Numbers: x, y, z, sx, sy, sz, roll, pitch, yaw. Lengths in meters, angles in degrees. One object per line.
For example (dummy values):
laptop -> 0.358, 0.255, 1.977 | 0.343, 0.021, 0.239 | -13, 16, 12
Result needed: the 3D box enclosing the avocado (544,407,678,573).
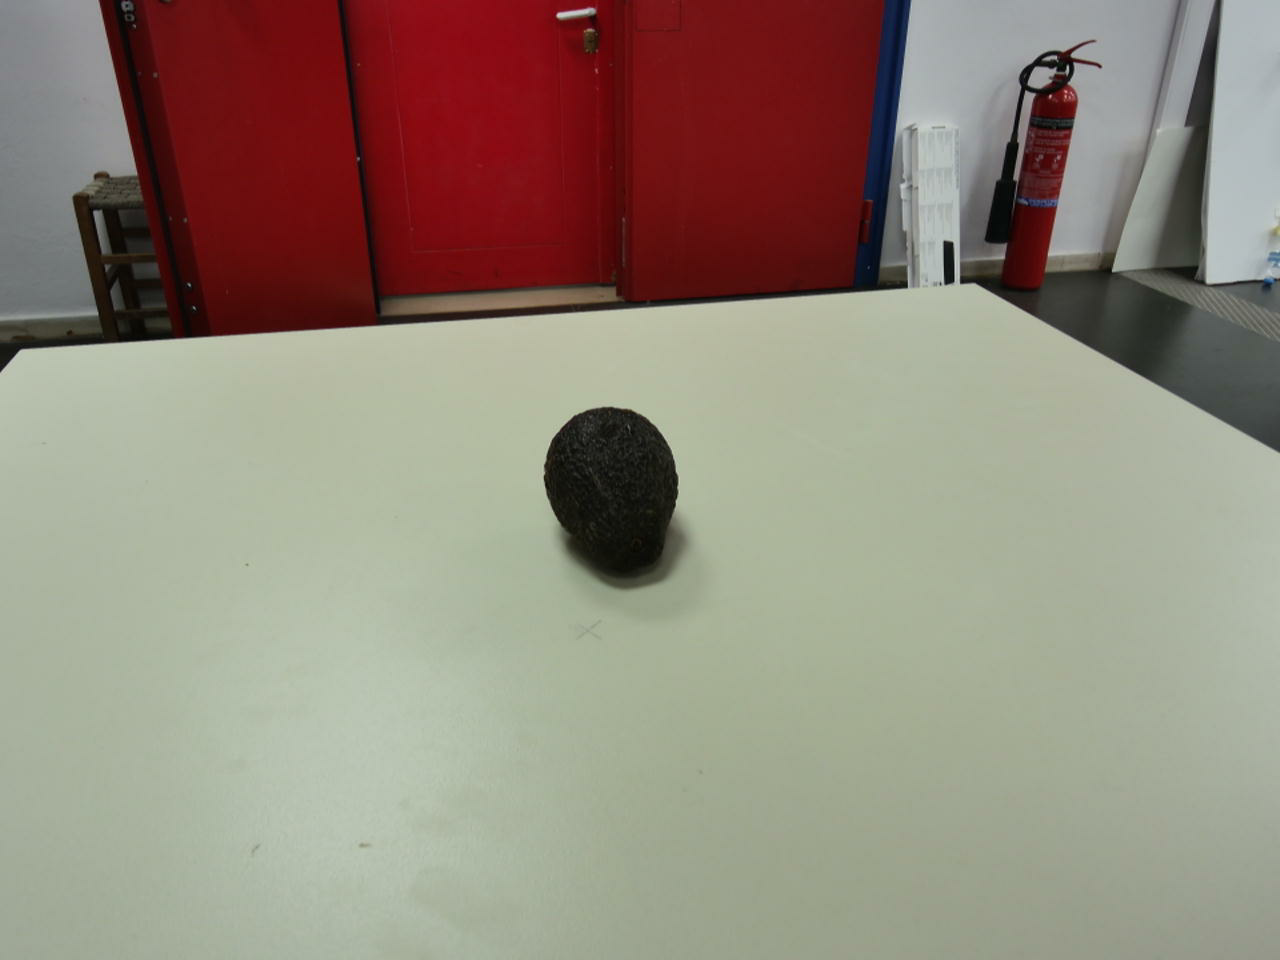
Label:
avocado -> -0.016, 0.001, 0.510 | 0.070, 0.069, 0.090 | 5, 26, 11
